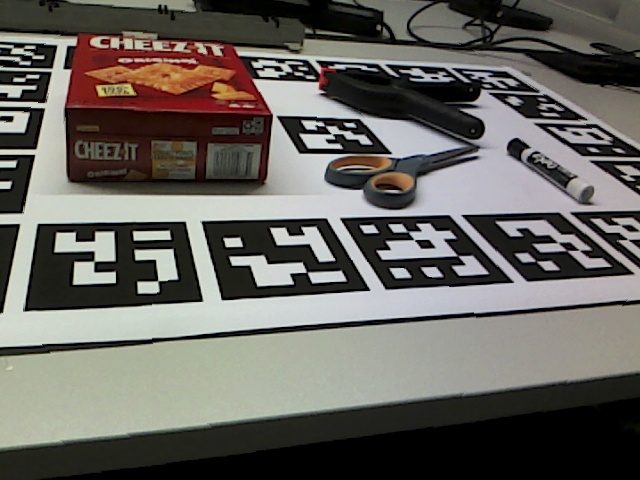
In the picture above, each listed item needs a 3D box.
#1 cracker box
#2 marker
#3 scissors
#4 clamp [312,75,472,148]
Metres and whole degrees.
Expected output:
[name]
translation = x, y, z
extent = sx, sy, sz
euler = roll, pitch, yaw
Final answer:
[cracker box]
translation = -0.143, -0.131, 0.591
extent = 0.163, 0.072, 0.215
euler = -1, 33, -17
[marker]
translation = 0.233, -0.077, 0.650
extent = 0.019, 0.019, 0.122
euler = -4, 33, -21
[scissors]
translation = 0.097, -0.074, 0.611
extent = 0.088, 0.016, 0.202
euler = 31, 35, 33
[clamp]
translation = 0.090, -0.172, 0.779
extent = 0.203, 0.036, 0.165
euler = 15, 30, 7
